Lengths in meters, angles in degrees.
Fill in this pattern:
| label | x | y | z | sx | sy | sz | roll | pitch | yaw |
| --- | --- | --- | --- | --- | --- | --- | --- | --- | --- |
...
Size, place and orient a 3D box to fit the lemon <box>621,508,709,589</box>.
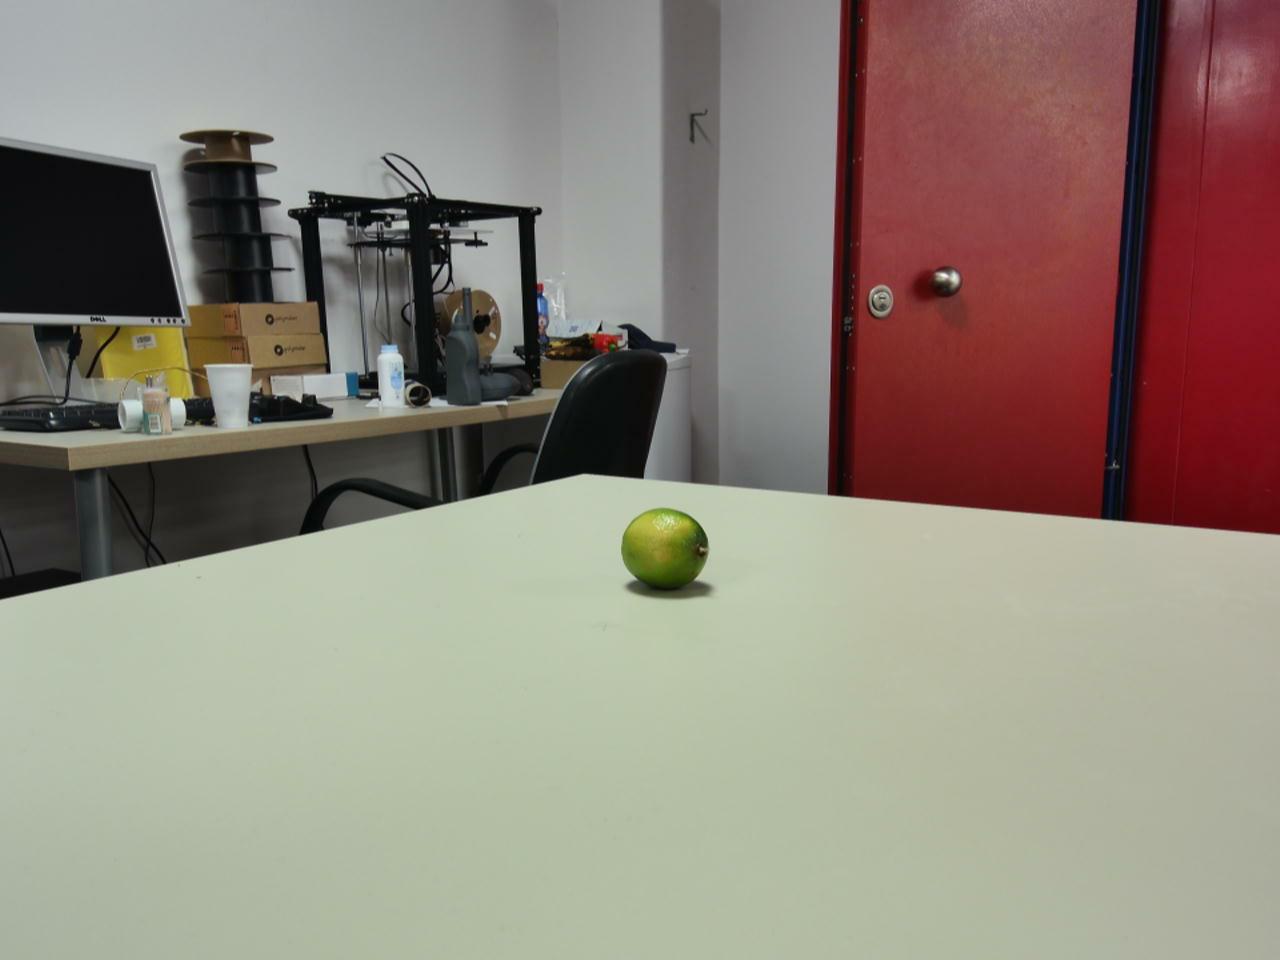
| label | x | y | z | sx | sy | sz | roll | pitch | yaw |
| --- | --- | --- | --- | --- | --- | --- | --- | --- | --- |
| lemon | 0.016 | 0.043 | 0.637 | 0.054 | 0.050 | 0.055 | -1 | 7 | -5 |
